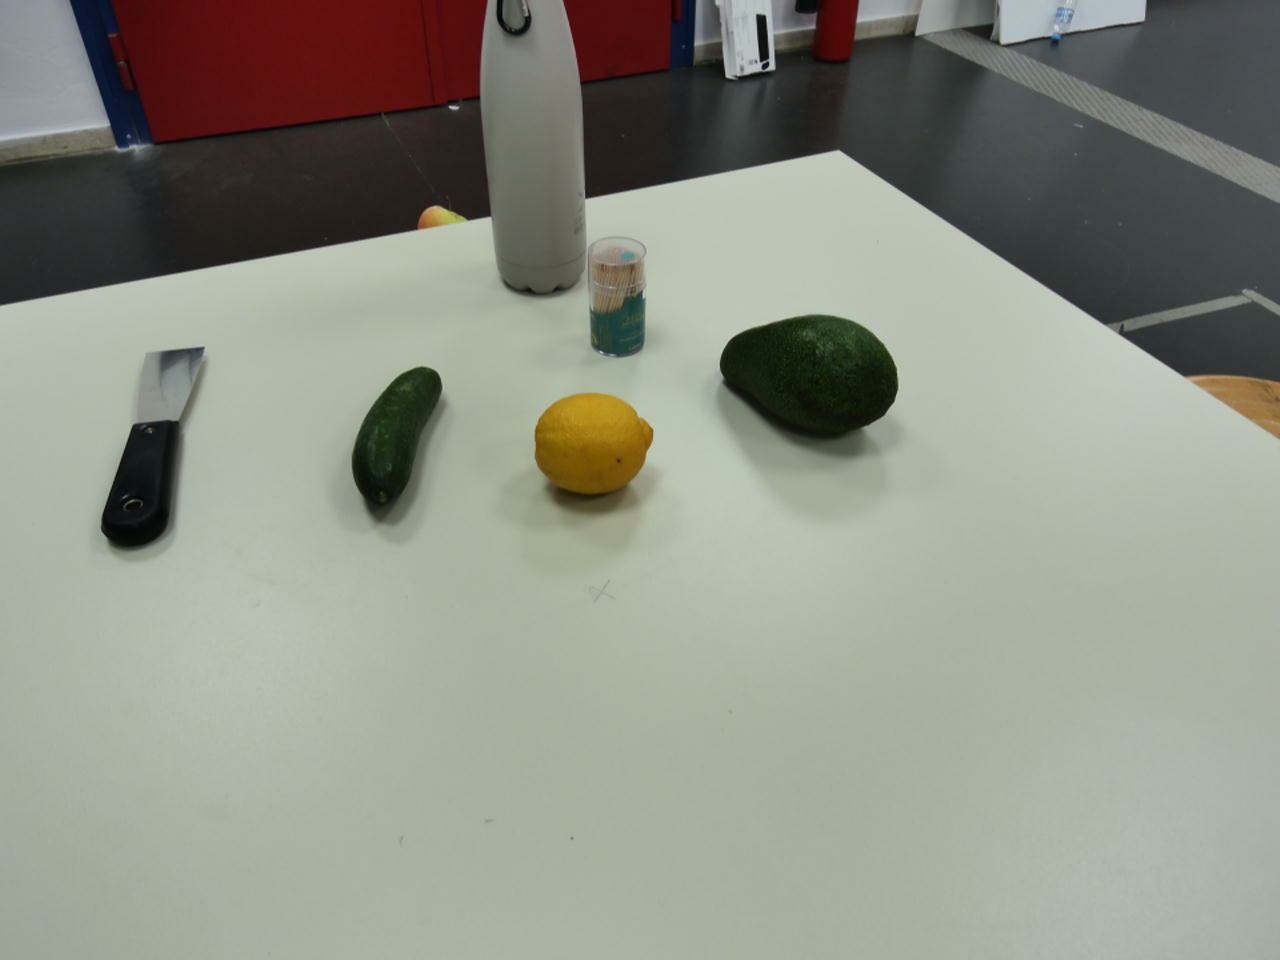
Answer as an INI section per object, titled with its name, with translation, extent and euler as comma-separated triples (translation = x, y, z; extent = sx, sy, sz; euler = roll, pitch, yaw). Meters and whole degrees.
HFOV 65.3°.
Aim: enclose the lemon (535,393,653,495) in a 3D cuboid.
[lemon]
translation = -0.029, -0.021, 0.588
extent = 0.067, 0.059, 0.060
euler = 11, 40, 13
